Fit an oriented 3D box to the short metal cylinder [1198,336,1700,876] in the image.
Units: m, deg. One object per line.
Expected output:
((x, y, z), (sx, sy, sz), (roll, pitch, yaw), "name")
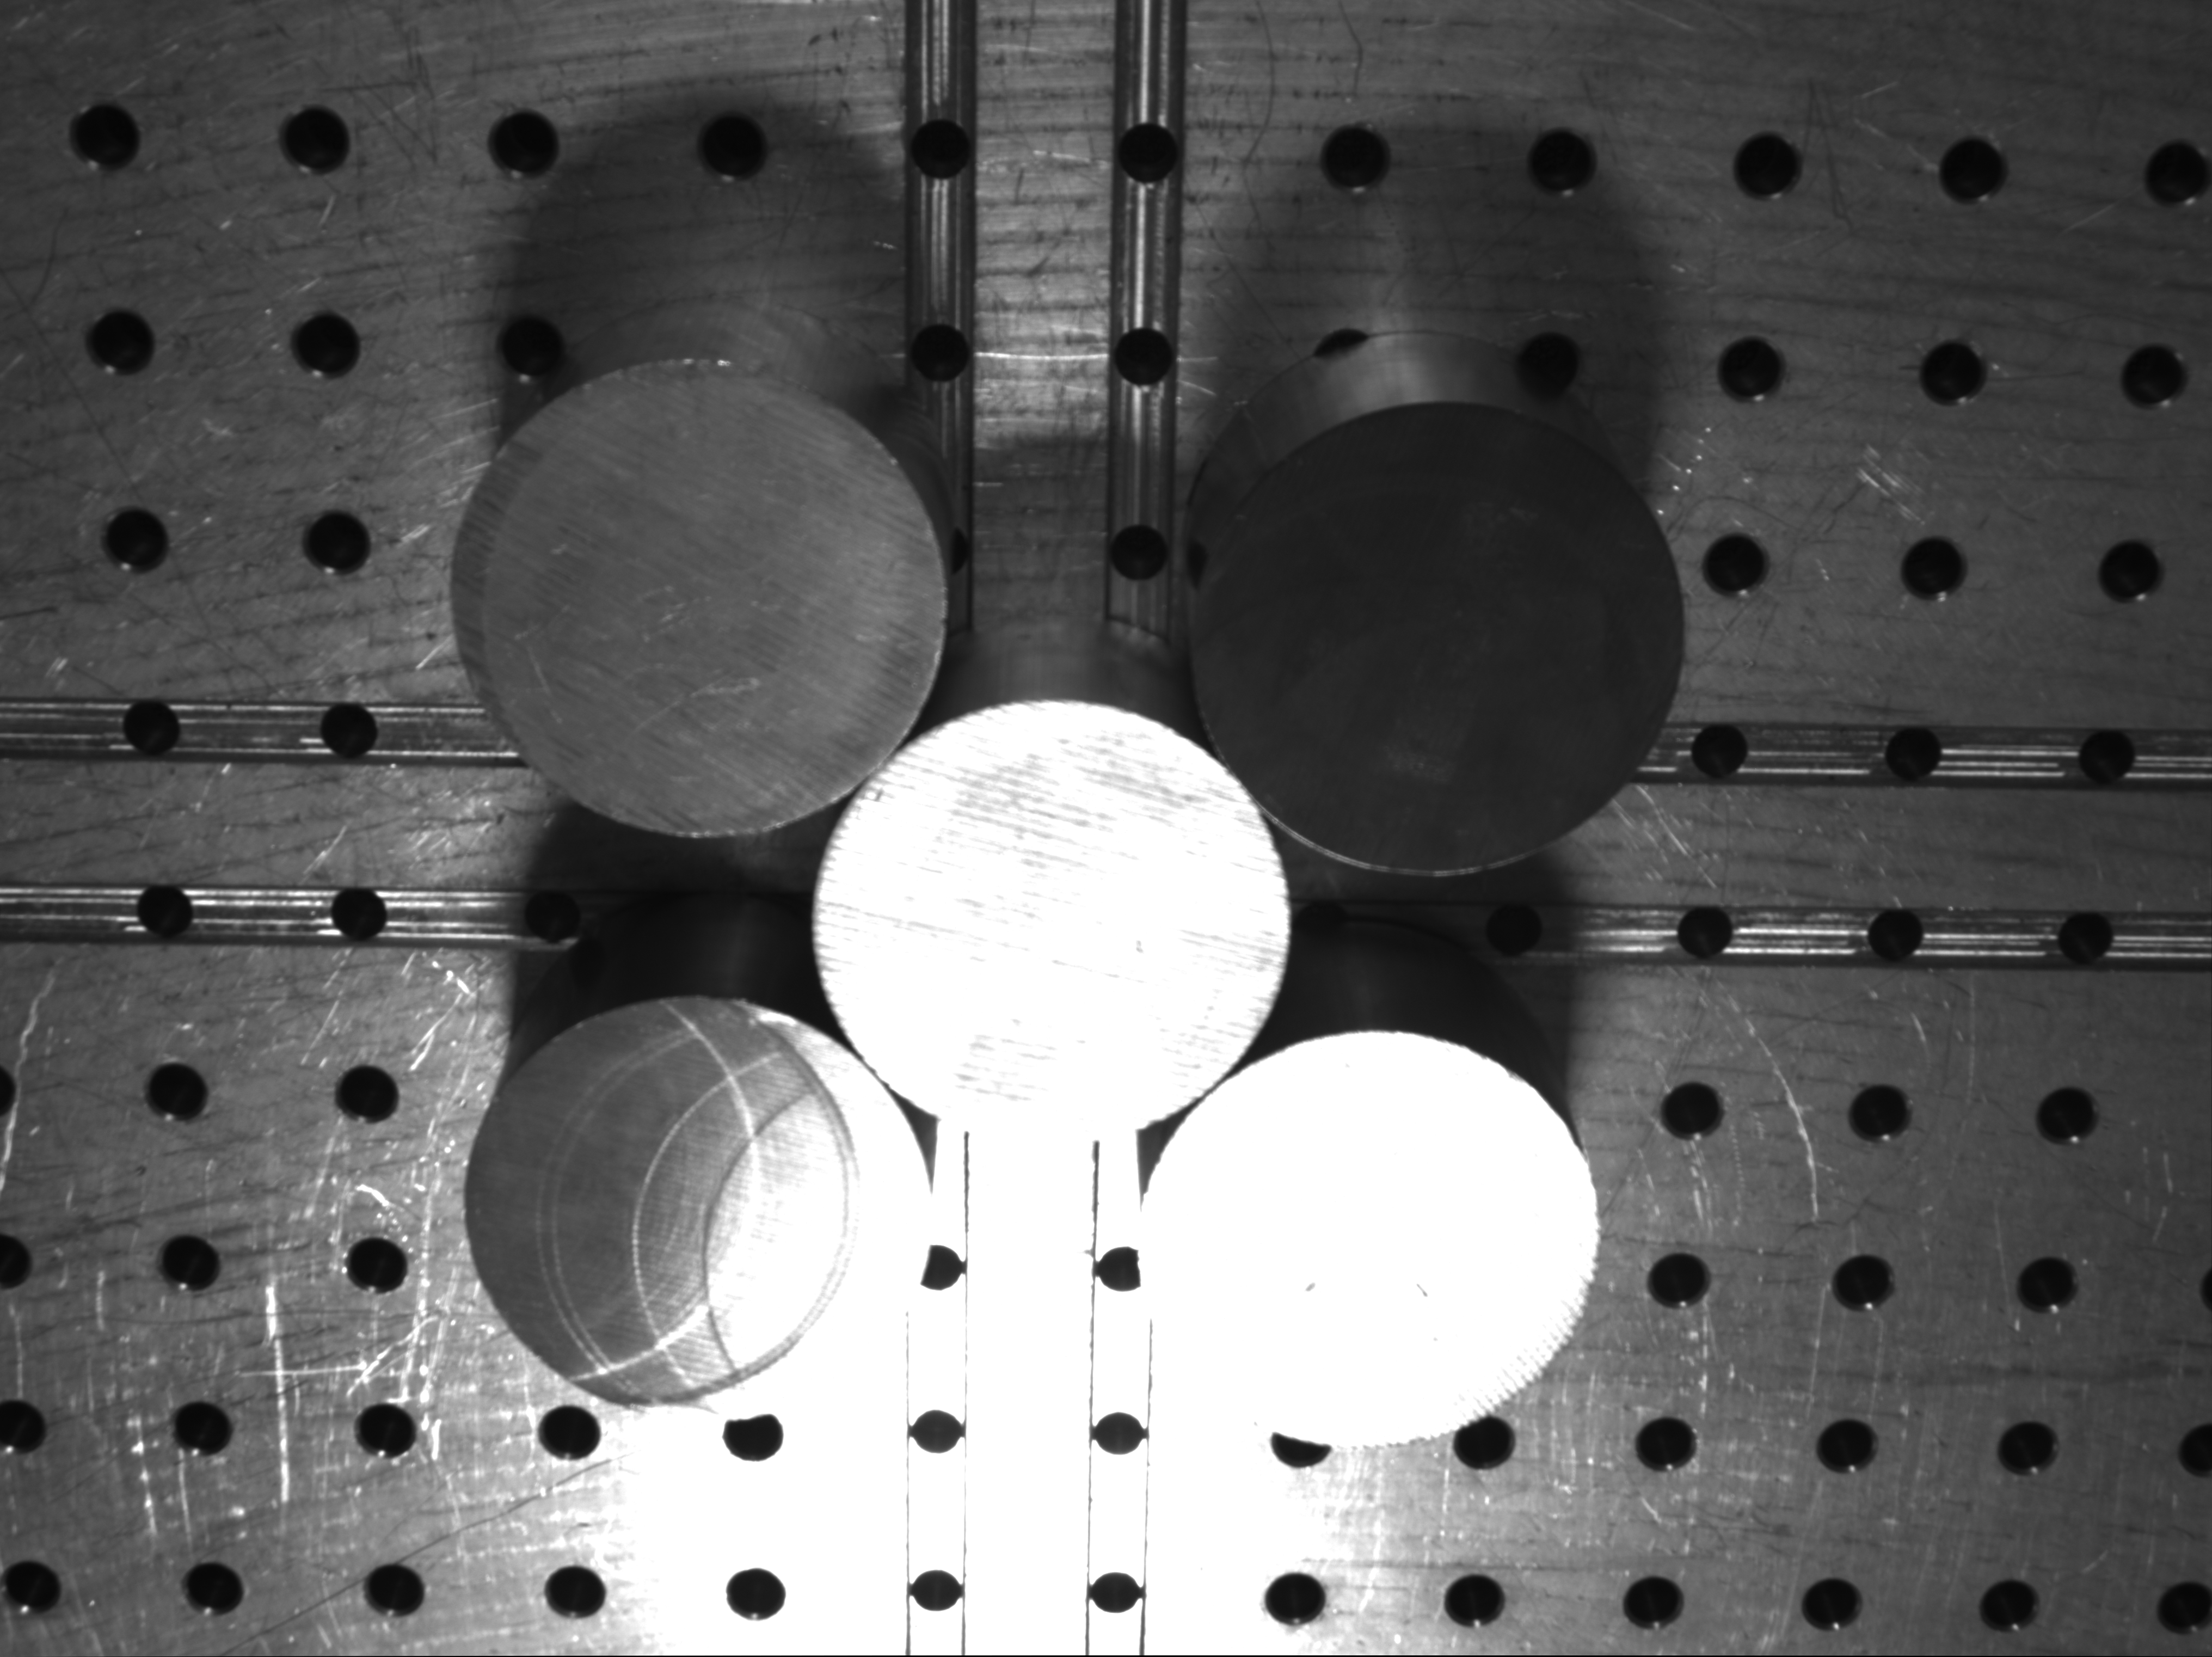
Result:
((0.056, -0.038, 0.617), (0.080, 0.050, 0.080), (0, 110, -1), "short metal cylinder")

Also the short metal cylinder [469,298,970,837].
((-0.063, -0.045, 0.615), (0.080, 0.050, 0.080), (0, 110, -1), "short metal cylinder")

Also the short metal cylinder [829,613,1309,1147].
((-0.006, 0.008, 0.635), (0.080, 0.050, 0.080), (0, 110, -1), "short metal cylinder")

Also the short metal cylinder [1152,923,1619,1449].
((0.048, 0.063, 0.655), (0.080, 0.050, 0.080), (0, 110, -1), "short metal cylinder")

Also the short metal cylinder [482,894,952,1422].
((-0.067, 0.058, 0.651), (0.080, 0.050, 0.080), (0, 110, -1), "short metal cylinder")
